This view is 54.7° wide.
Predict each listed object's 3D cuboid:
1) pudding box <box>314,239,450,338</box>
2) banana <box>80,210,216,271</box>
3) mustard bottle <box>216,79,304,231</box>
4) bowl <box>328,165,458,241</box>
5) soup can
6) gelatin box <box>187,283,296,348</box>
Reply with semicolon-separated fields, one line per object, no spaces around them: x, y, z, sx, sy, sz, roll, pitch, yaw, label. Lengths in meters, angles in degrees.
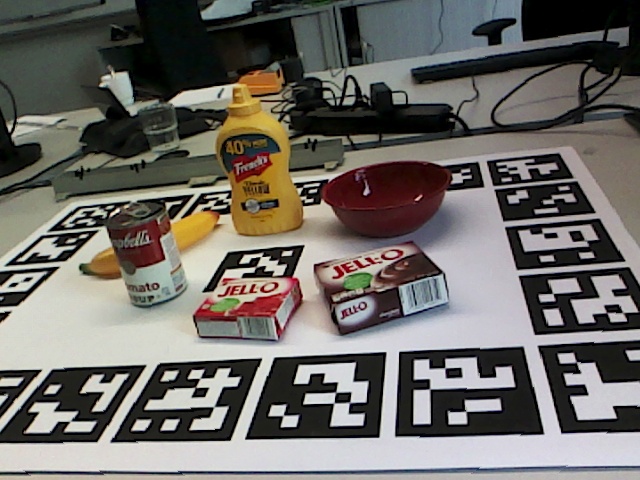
0.059;0.046;0.615;0.113;0.038;0.090;-15;31;-9;pudding box
-0.218;-0.001;0.830;0.196;0.039;0.075;-26;19;-30;banana
-0.083;-0.109;0.797;0.096;0.191;0.058;-5;22;13;mustard bottle
0.094;-0.043;0.778;0.162;0.055;0.162;-10;24;4;bowl
-0.201;0.009;0.705;0.068;0.102;0.068;-7;23;3;soup can
-0.077;0.074;0.622;0.090;0.030;0.073;-2;29;19;gelatin box
